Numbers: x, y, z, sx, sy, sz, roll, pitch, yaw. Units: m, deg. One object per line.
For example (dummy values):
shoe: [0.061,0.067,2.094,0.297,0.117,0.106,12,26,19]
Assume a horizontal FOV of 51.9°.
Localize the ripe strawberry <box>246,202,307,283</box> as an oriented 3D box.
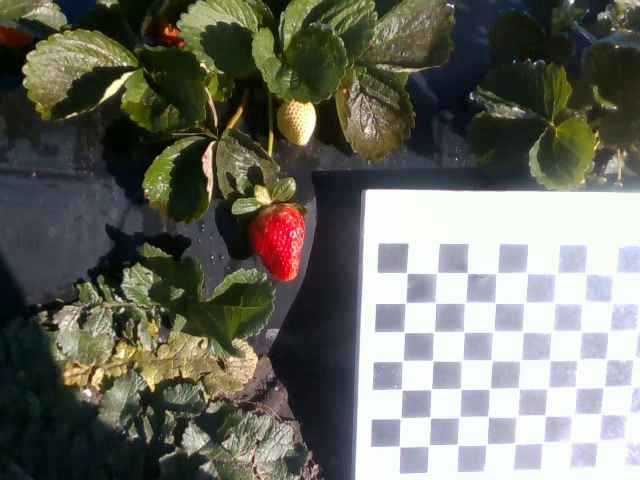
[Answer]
ripe strawberry: [-0.030,0.004,0.495,0.048,0.069,0.040,-17,2,-3]
